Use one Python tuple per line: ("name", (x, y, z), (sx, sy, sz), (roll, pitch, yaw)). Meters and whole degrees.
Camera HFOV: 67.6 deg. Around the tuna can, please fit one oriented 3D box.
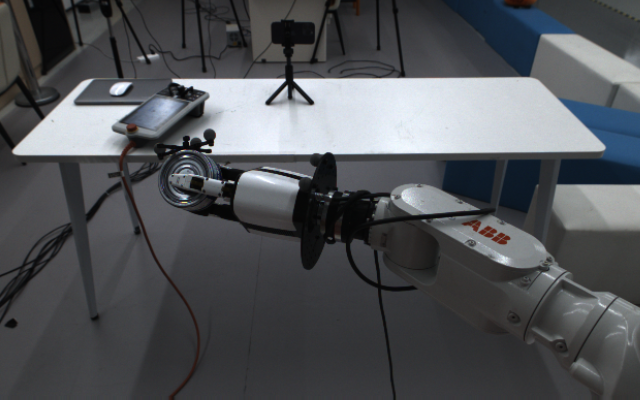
("tuna can", (-0.184, -0.028, 0.687), (0.085, 0.085, 0.034), (12, -6, 14))
